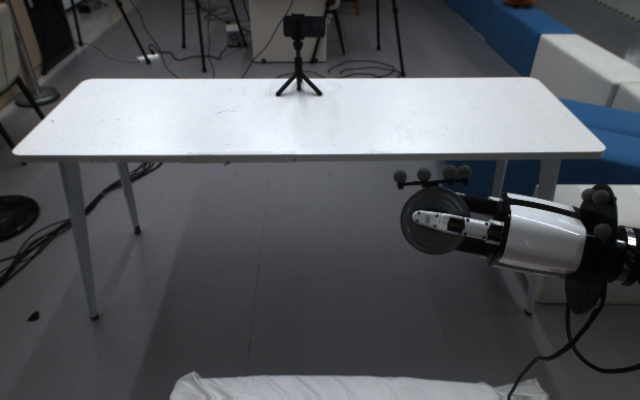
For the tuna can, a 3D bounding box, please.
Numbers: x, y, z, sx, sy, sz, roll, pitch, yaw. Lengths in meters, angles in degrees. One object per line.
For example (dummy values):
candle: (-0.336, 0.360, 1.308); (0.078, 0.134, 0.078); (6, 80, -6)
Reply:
tuna can: (0.148, 0.024, 0.617); (0.085, 0.085, 0.034); (11, 1, 12)
